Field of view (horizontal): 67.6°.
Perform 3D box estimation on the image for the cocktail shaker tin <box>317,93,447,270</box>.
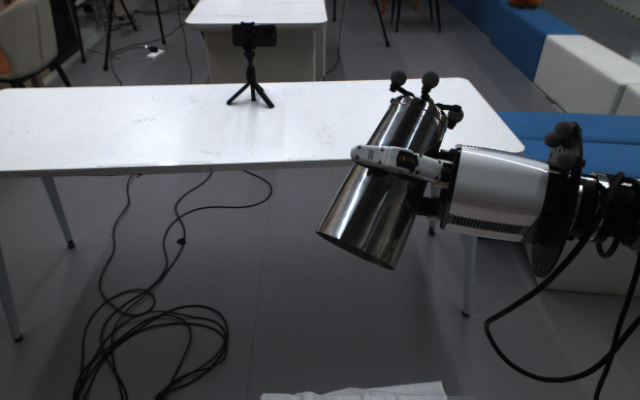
[{"bbox_3d":[0.076,-0.025,0.519,0.093,0.093,0.170,21,81,25],"label":"cocktail shaker tin"}]
